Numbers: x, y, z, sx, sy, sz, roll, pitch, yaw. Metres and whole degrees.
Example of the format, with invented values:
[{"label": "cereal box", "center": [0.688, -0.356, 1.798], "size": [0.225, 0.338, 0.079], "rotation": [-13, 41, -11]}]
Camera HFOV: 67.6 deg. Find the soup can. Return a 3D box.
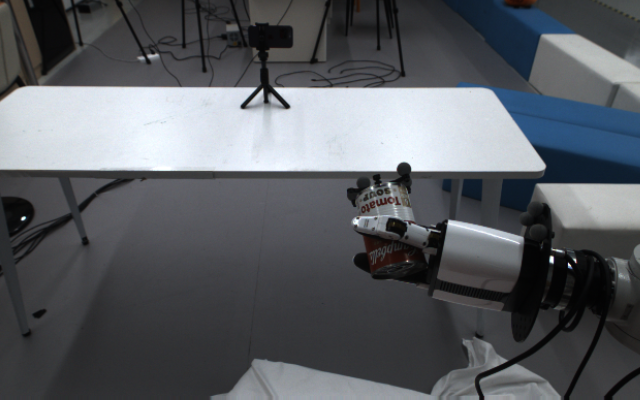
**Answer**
[{"label": "soup can", "center": [0.089, 0.037, 0.588], "size": [0.067, 0.067, 0.101], "rotation": [-8, 68, -14]}]
